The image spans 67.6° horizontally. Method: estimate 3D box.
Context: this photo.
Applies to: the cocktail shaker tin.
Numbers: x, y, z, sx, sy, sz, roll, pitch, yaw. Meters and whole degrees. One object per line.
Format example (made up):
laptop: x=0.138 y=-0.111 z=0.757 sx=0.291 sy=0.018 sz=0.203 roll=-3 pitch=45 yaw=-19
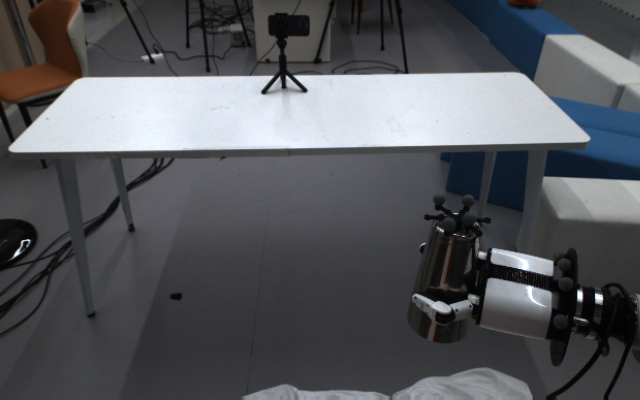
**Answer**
cocktail shaker tin: x=0.183 y=0.106 z=0.691 sx=0.093 sy=0.170 sz=0.093 roll=2 pitch=28 yaw=-1
